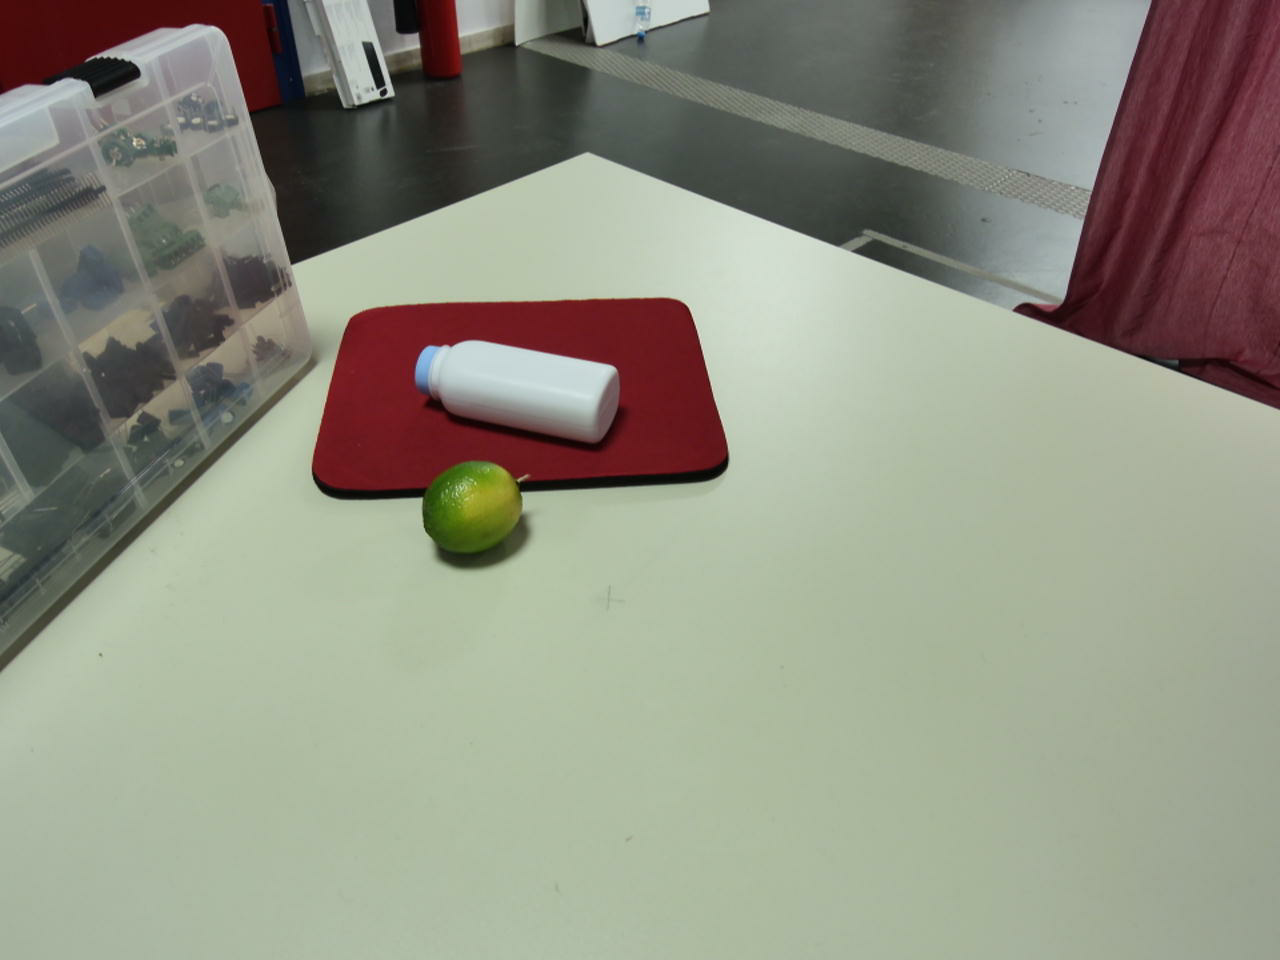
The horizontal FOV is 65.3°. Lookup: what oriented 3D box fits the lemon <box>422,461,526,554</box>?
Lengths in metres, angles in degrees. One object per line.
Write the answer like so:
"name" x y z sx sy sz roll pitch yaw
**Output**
"lemon" -0.094 0.015 0.561 0.055 0.050 0.054 2 38 1
